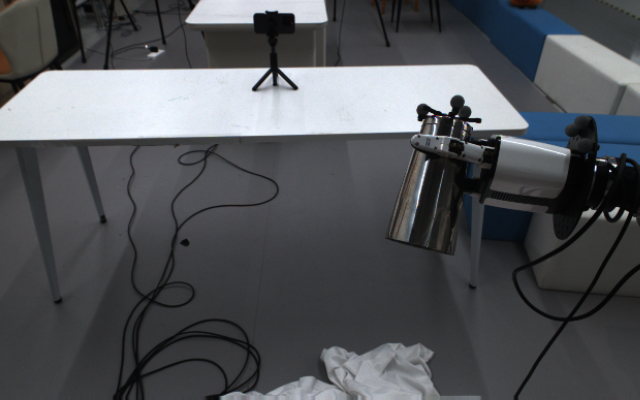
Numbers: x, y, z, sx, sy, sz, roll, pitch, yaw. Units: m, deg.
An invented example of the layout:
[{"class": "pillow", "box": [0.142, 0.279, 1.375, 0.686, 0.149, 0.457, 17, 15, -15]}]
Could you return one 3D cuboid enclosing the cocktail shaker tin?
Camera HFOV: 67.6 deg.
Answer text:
[{"class": "cocktail shaker tin", "box": [0.153, -0.023, 0.648, 0.093, 0.170, 0.093, 15, -5, 1]}]
